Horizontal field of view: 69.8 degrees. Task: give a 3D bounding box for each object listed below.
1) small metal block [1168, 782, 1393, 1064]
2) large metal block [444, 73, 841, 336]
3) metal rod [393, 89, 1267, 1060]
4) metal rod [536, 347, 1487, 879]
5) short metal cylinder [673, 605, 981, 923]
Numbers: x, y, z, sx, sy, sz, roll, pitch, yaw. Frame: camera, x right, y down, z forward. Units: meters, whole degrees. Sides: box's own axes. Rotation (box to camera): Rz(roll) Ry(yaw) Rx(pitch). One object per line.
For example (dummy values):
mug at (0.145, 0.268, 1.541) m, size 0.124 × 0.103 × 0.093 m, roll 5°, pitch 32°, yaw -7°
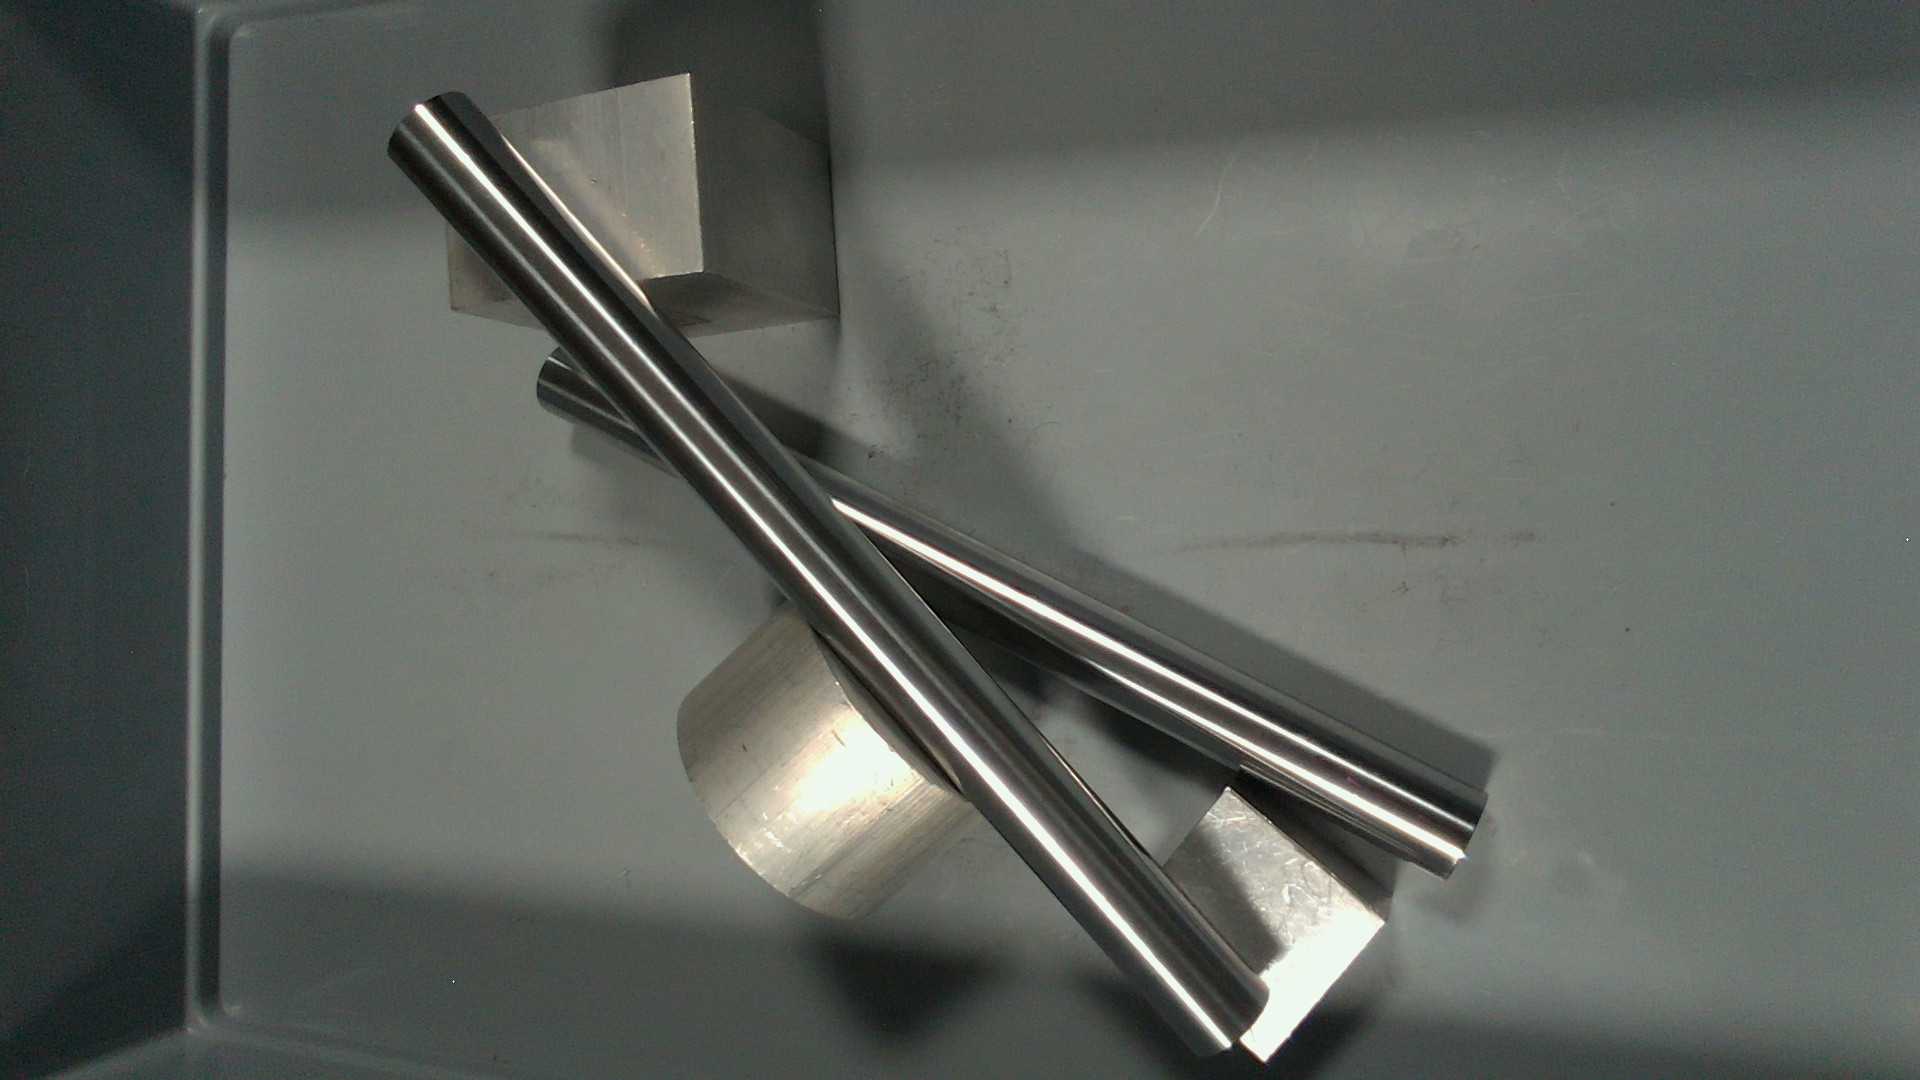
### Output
small metal block at (0.078, 0.100, 0.367) m, size 0.050 × 0.025 × 0.050 m, roll 40°, pitch 103°, yaw 16°
large metal block at (-0.089, -0.091, 0.398) m, size 0.080 × 0.080 × 0.050 m, roll -4°, pitch 89°, yaw 20°
metal rod at (-0.033, 0.008, 0.345) m, size 0.025 × 0.025 × 0.300 m, roll -42°, pitch 89°, yaw 15°
metal rod at (0.001, 0.011, 0.395) m, size 0.299 × 0.025 × 0.025 m, roll 27°, pitch 99°, yaw 18°
short metal cylinder at (-0.031, 0.056, 0.376) m, size 0.050 × 0.080 × 0.080 m, roll -42°, pitch 77°, yaw 15°
